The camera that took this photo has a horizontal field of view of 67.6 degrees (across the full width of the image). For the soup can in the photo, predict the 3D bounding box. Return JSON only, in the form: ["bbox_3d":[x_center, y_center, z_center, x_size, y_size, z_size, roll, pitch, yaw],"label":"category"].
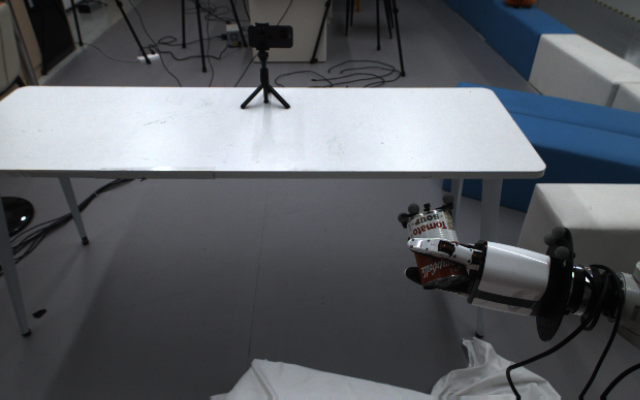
[{"bbox_3d":[0.173,0.073,0.710,0.067,0.067,0.101,-6,67,-12],"label":"soup can"}]
